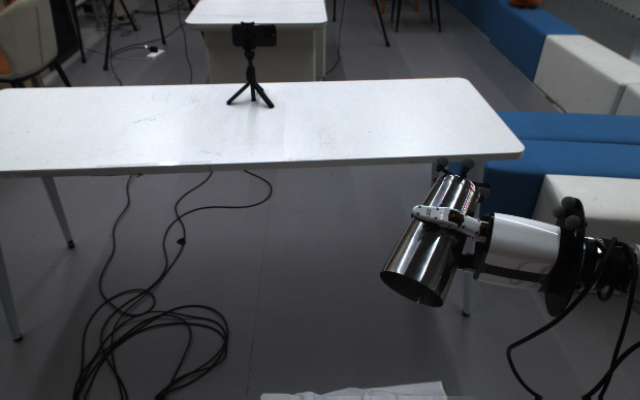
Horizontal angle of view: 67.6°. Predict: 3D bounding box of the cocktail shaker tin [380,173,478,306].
[{"bbox_3d":[0.162,0.047,0.670,0.093,0.093,0.170,20,67,23],"label":"cocktail shaker tin"}]
